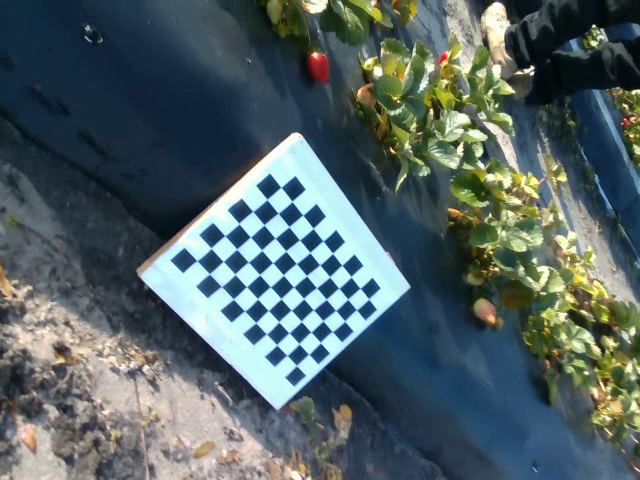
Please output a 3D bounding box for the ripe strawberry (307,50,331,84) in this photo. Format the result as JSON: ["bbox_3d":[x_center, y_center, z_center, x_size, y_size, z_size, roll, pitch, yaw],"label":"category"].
[{"bbox_3d":[0.002,-0.210,0.773,0.030,0.045,0.033,-14,-10,-15],"label":"ripe strawberry"}]
